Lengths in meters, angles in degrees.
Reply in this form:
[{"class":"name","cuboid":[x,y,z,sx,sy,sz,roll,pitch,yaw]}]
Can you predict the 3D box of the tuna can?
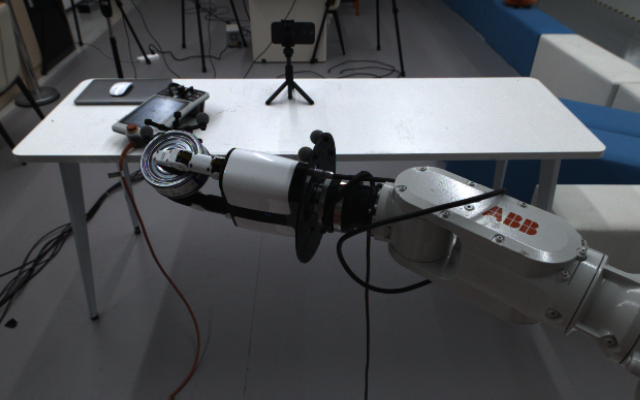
[{"class":"tuna can","cuboid":[-0.184,-0.042,0.625,0.085,0.034,0.085,-4,68,9]}]
